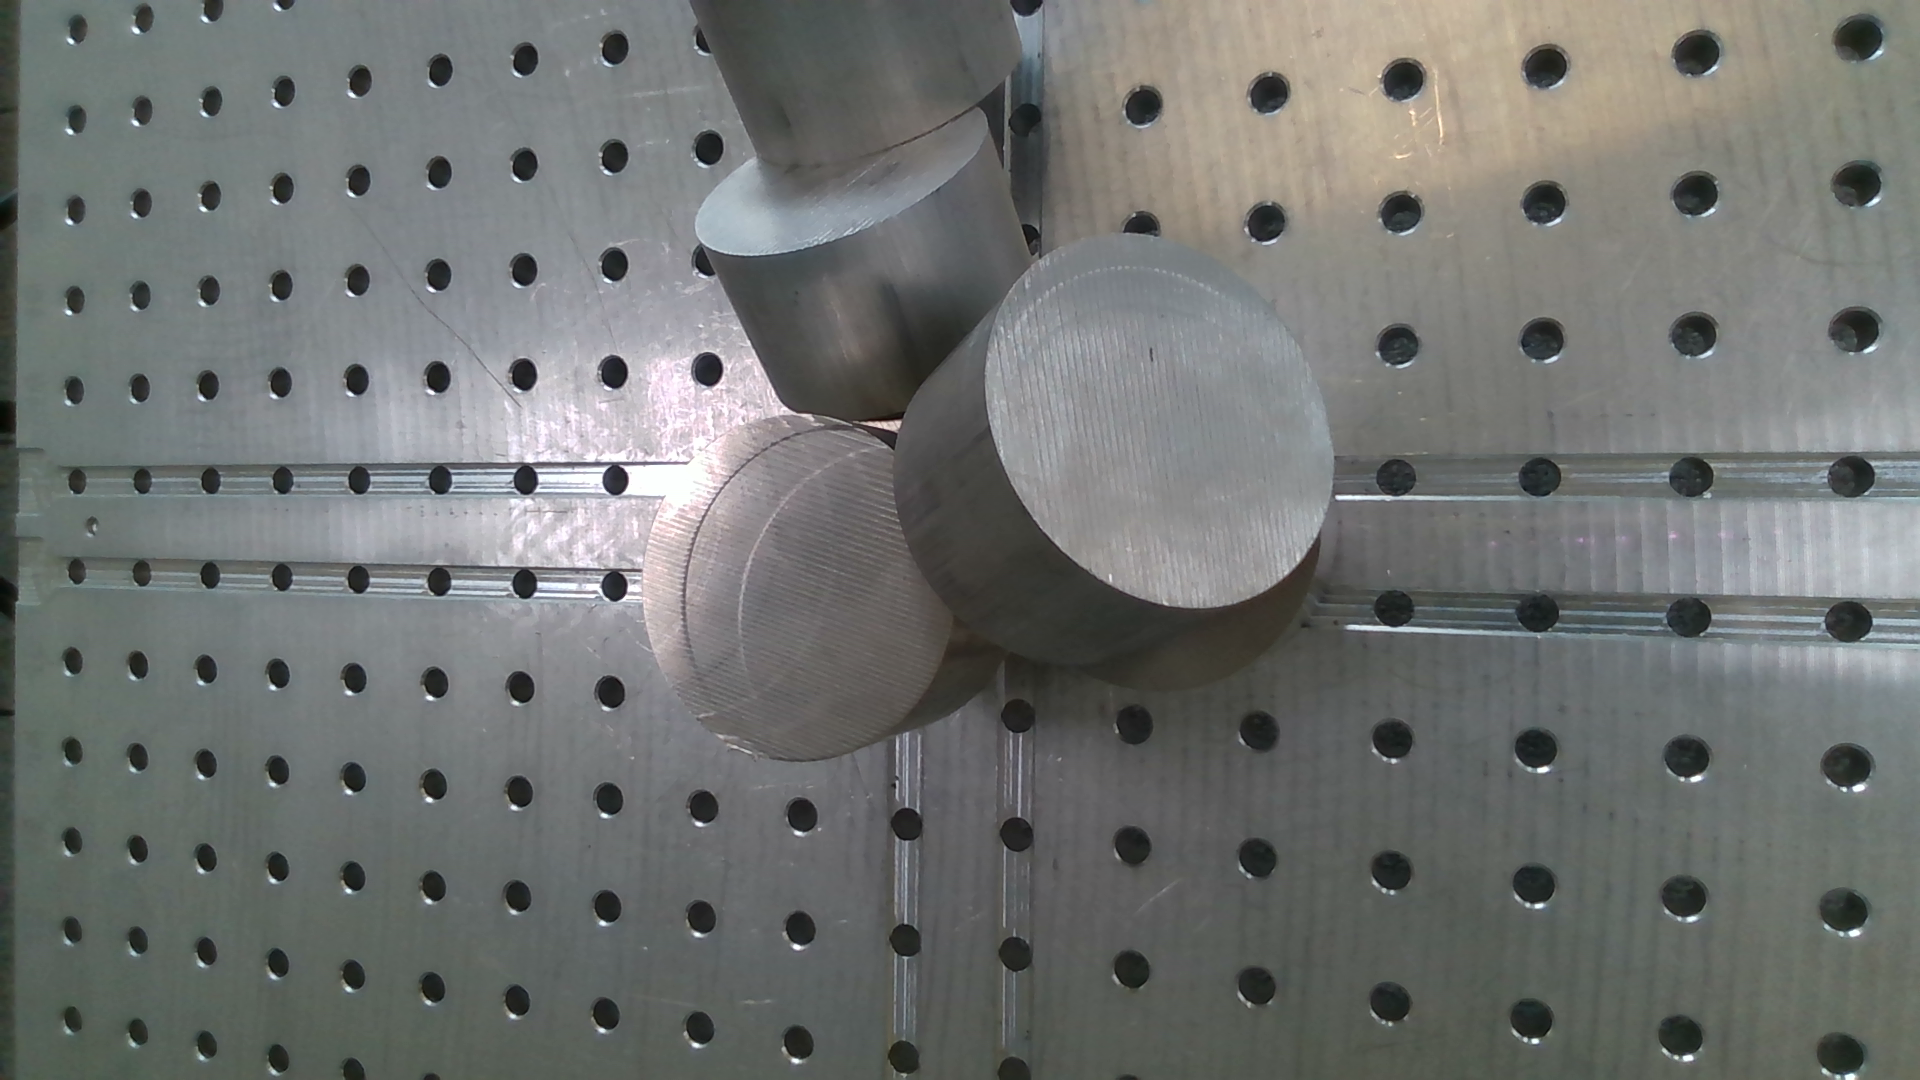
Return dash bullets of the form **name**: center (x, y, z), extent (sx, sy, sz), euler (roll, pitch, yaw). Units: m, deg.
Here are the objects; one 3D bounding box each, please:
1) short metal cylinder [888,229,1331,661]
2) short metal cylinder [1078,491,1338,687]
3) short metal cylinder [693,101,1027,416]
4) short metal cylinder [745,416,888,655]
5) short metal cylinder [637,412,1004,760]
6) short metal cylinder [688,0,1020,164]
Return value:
- **short metal cylinder**: center (0.031, -0.018, 0.295), extent (0.050, 0.080, 0.080), euler (-37, 74, 61)
- **short metal cylinder**: center (0.056, -0.004, 0.362), extent (0.080, 0.050, 0.080), euler (0, 90, 20)
- **short metal cylinder**: center (-0.024, -0.076, 0.367), extent (0.080, 0.080, 0.050), euler (-7, 129, 20)
- **short metal cylinder**: center (-0.020, 0.001, 0.389), extent (0.080, 0.050, 0.080), euler (0, 90, 20)
- **short metal cylinder**: center (-0.031, 0.011, 0.339), extent (0.080, 0.050, 0.080), euler (0, 90, 20)
- **short metal cylinder**: center (-0.029, -0.144, 0.370), extent (0.080, 0.080, 0.050), euler (-8, 129, 20)
